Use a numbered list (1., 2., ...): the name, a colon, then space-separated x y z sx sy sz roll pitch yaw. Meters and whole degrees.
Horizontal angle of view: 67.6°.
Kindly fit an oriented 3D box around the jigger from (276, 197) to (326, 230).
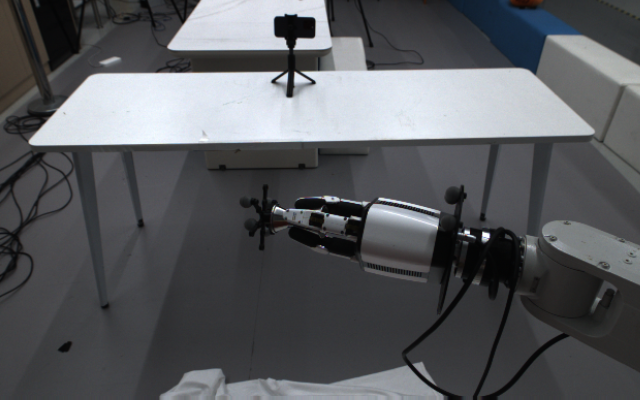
1. jigger: -0.019 0.021 0.638 0.071 0.043 0.043 2 34 16
